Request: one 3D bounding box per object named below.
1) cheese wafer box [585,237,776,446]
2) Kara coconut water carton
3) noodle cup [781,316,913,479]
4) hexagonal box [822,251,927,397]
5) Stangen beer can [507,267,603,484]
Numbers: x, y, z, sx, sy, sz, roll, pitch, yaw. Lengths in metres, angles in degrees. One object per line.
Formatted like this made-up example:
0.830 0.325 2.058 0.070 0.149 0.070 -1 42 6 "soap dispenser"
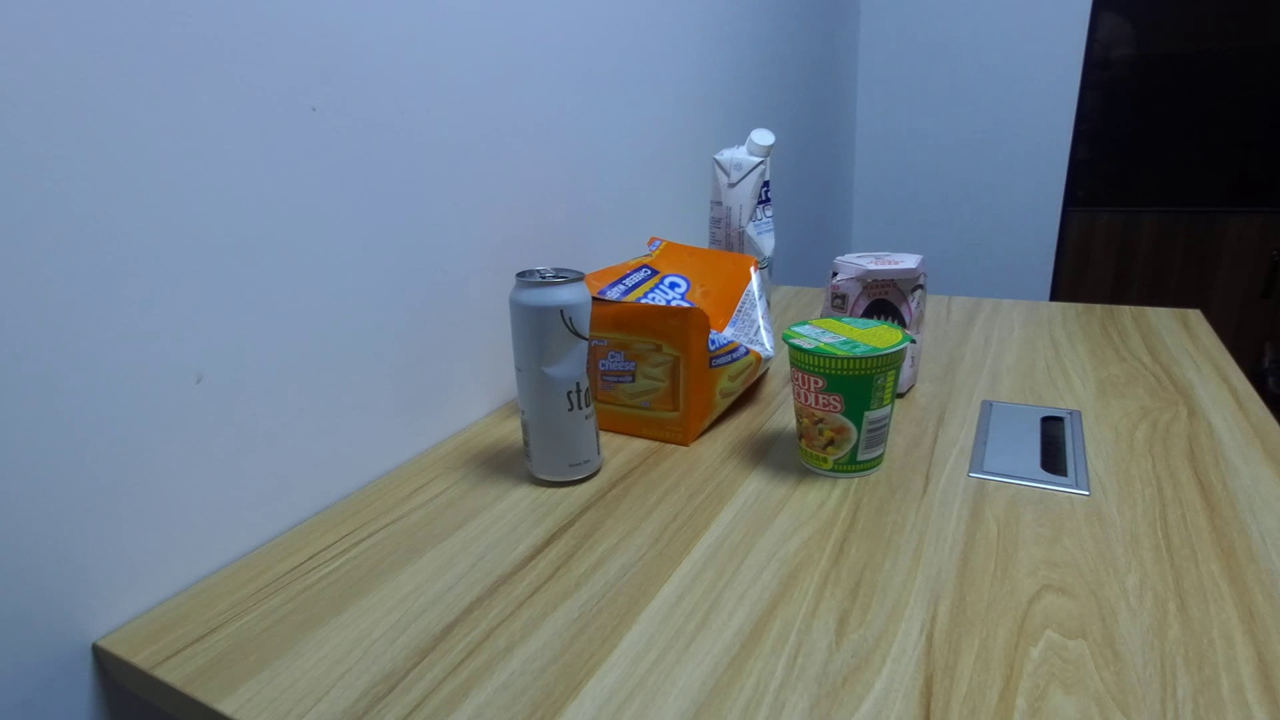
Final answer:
0.040 -0.030 0.713 0.190 0.145 0.219 7 21 28 "cheese wafer box"
0.121 -0.143 0.848 0.078 0.255 0.083 8 22 28 "Kara coconut water carton"
0.162 0.031 0.566 0.097 0.110 0.097 -4 17 2 "noodle cup"
0.235 -0.038 0.718 0.091 0.134 0.090 12 22 37 "hexagonal box"
-0.064 0.012 0.572 0.069 0.173 0.070 7 20 28 "Stangen beer can"
